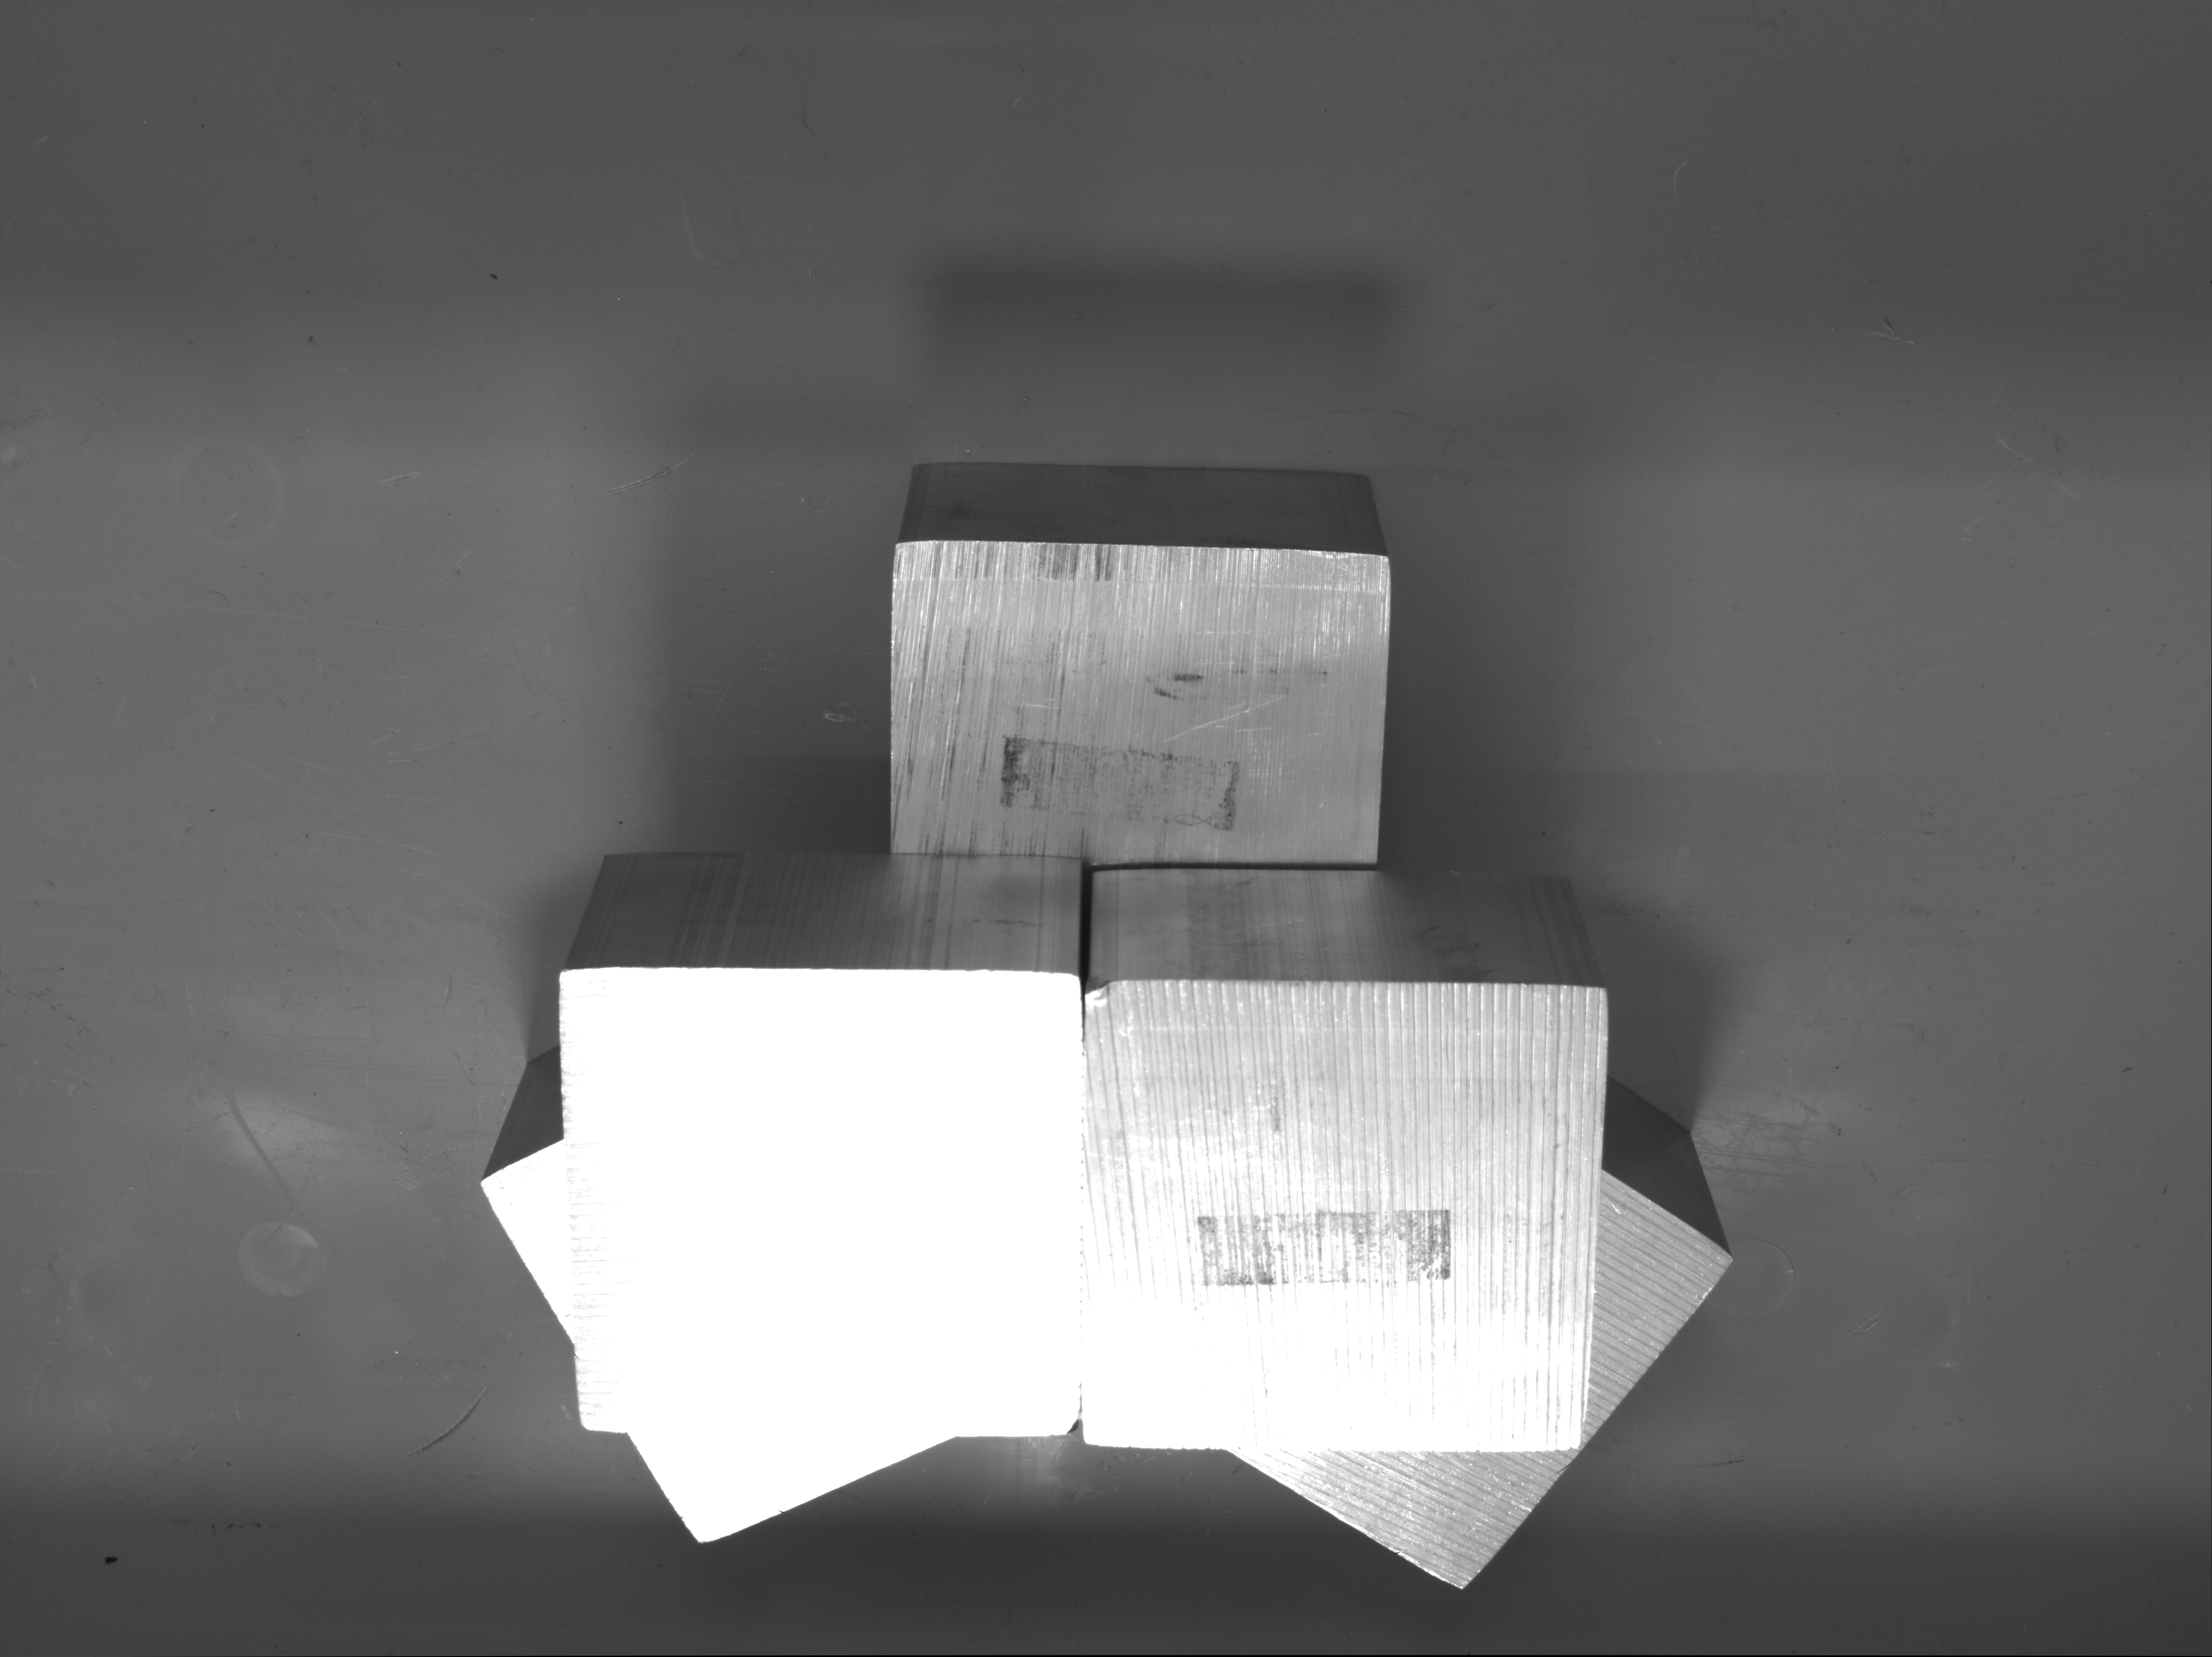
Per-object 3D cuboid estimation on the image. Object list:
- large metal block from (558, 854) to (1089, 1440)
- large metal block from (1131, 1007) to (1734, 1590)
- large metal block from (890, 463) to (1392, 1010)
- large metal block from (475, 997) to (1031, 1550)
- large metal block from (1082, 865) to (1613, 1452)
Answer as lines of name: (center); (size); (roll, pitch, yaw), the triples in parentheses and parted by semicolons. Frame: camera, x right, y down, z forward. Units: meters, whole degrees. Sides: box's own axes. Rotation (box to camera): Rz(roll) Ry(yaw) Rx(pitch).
large metal block: (-0.043, 0.051, 0.594); (0.080, 0.050, 0.080); (1, 110, 0)
large metal block: (0.052, 0.074, 0.655); (0.080, 0.050, 0.080); (33, 107, -11)
large metal block: (0.005, -0.016, 0.623); (0.080, 0.050, 0.080); (1, 110, -1)
large metal block: (-0.054, 0.069, 0.654); (0.080, 0.050, 0.080); (-25, 108, 9)
large metal block: (0.037, 0.053, 0.594); (0.080, 0.050, 0.080); (1, 110, 0)
